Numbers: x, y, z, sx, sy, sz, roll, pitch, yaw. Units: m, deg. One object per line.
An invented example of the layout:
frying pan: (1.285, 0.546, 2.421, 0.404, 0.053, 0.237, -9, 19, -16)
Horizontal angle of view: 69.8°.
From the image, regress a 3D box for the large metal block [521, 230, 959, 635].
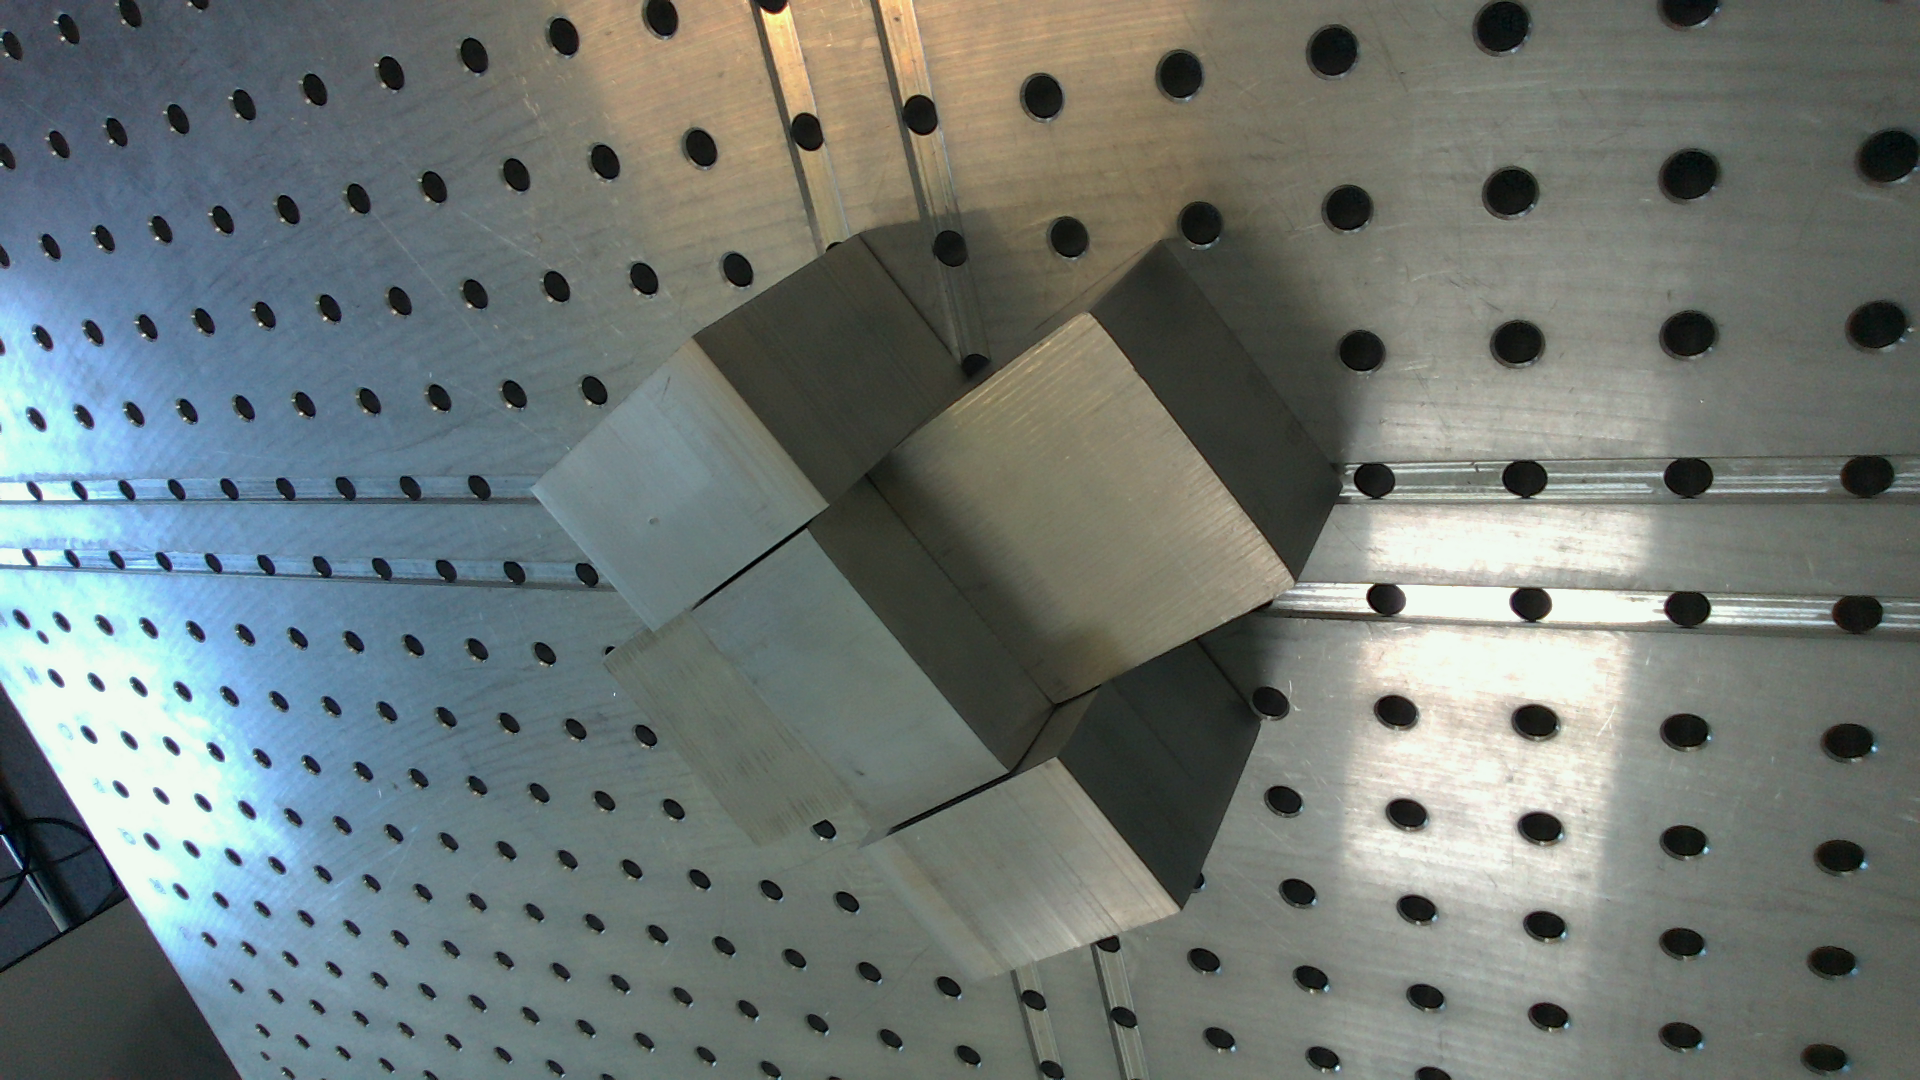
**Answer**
large metal block: (-0.057, -0.029, 0.372, 0.080, 0.080, 0.050, -32, 100, 38)

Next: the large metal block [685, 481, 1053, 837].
large metal block: (-0.013, 0.019, 0.379, 0.050, 0.080, 0.080, -32, 100, 38)

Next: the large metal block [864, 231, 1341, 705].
large metal block: (0.036, -0.016, 0.350, 0.080, 0.050, 0.080, -33, 102, 38)

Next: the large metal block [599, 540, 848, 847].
large metal block: (-0.052, 0.040, 0.434, 0.080, 0.050, 0.080, -30, 101, 38)

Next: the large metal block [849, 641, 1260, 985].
large metal block: (0.028, 0.069, 0.388, 0.080, 0.080, 0.050, -33, 100, 38)
